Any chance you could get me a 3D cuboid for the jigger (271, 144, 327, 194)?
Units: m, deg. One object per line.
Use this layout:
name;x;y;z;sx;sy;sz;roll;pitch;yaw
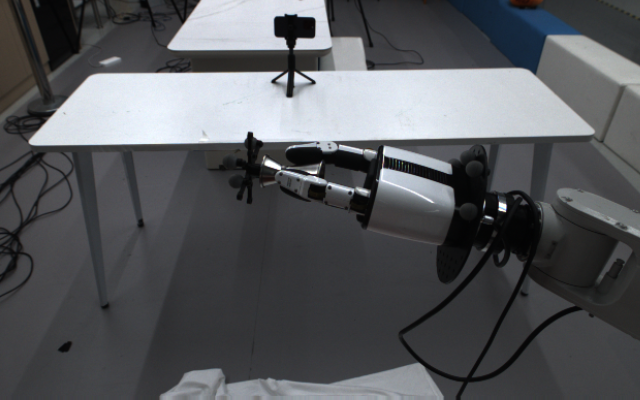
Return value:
jigger;-0.023;-0.034;0.561;0.071;0.043;0.043;7;35;7
